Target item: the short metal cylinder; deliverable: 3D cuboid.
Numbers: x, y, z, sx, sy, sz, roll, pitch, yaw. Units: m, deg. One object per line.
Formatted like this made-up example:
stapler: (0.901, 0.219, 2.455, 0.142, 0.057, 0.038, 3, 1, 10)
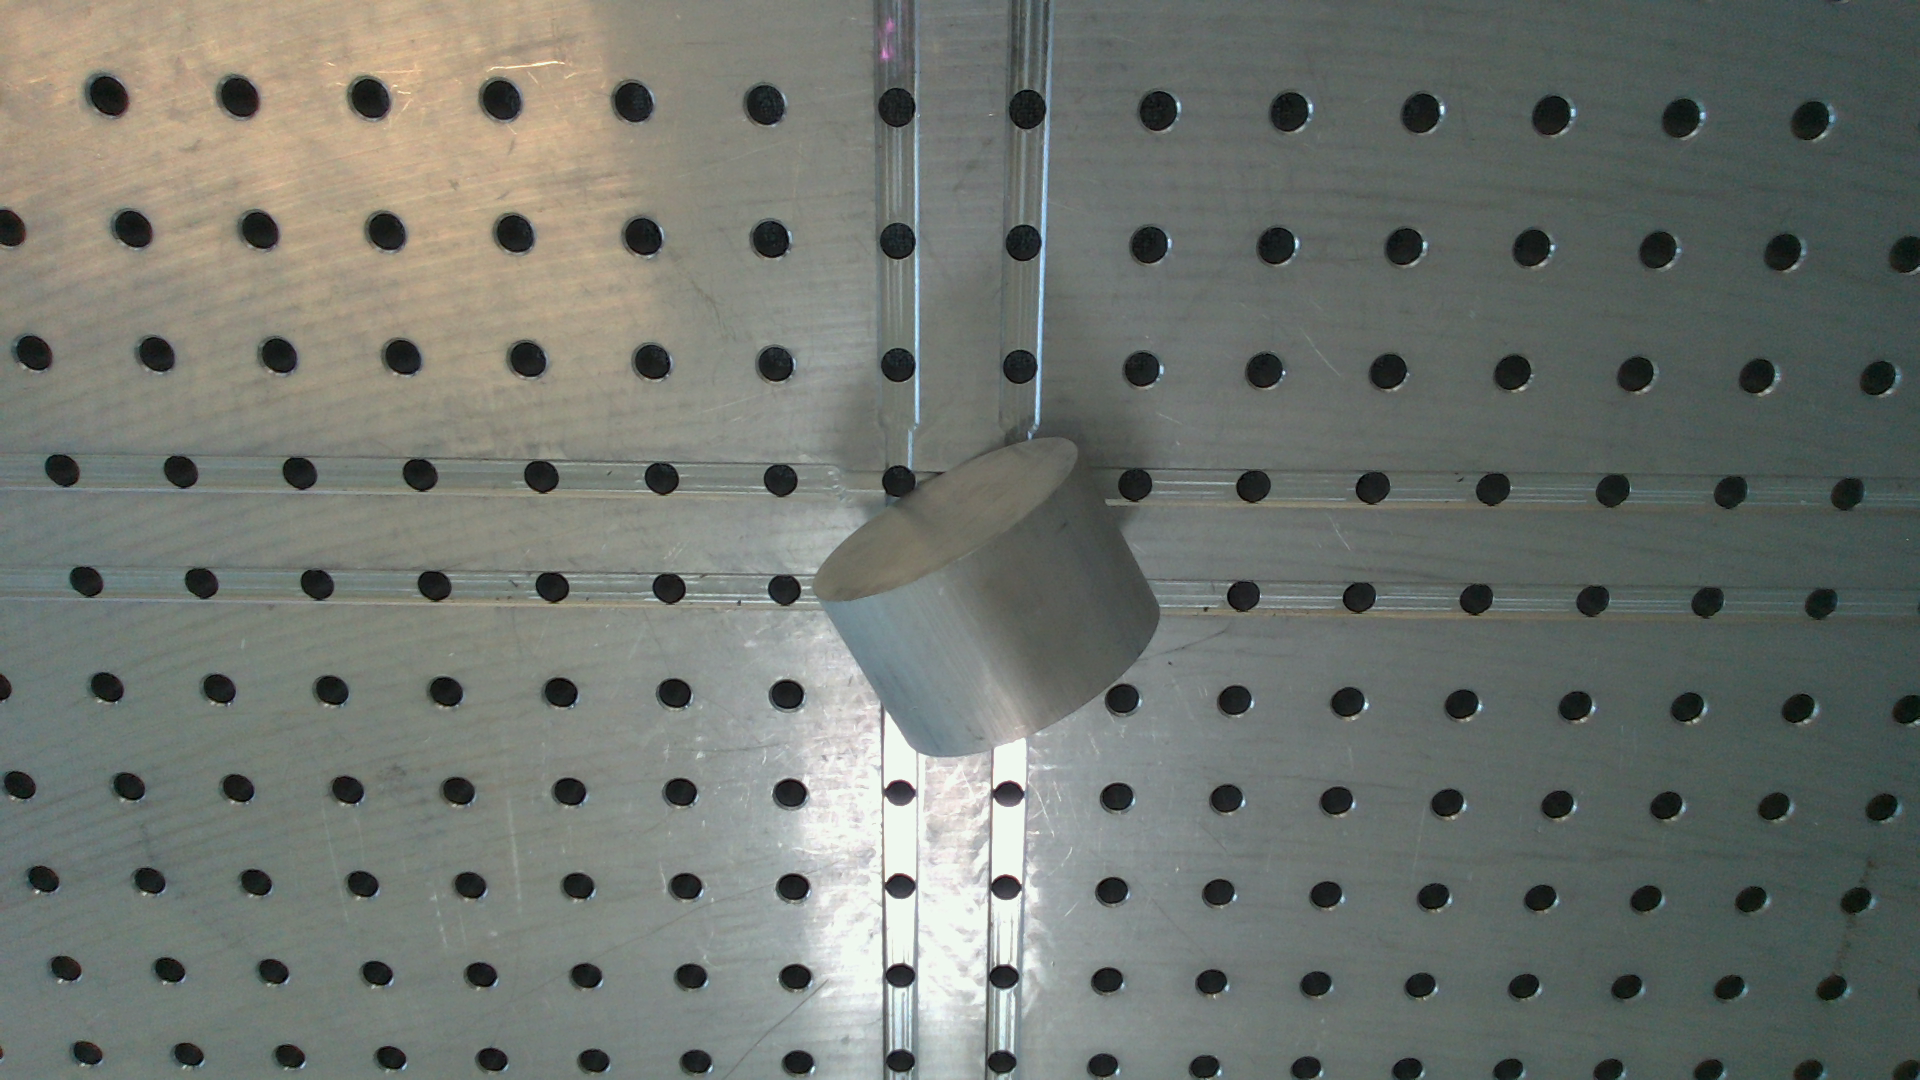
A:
short metal cylinder: (0.007, 0.014, 0.372, 0.080, 0.080, 0.050, -27, 107, 9)
